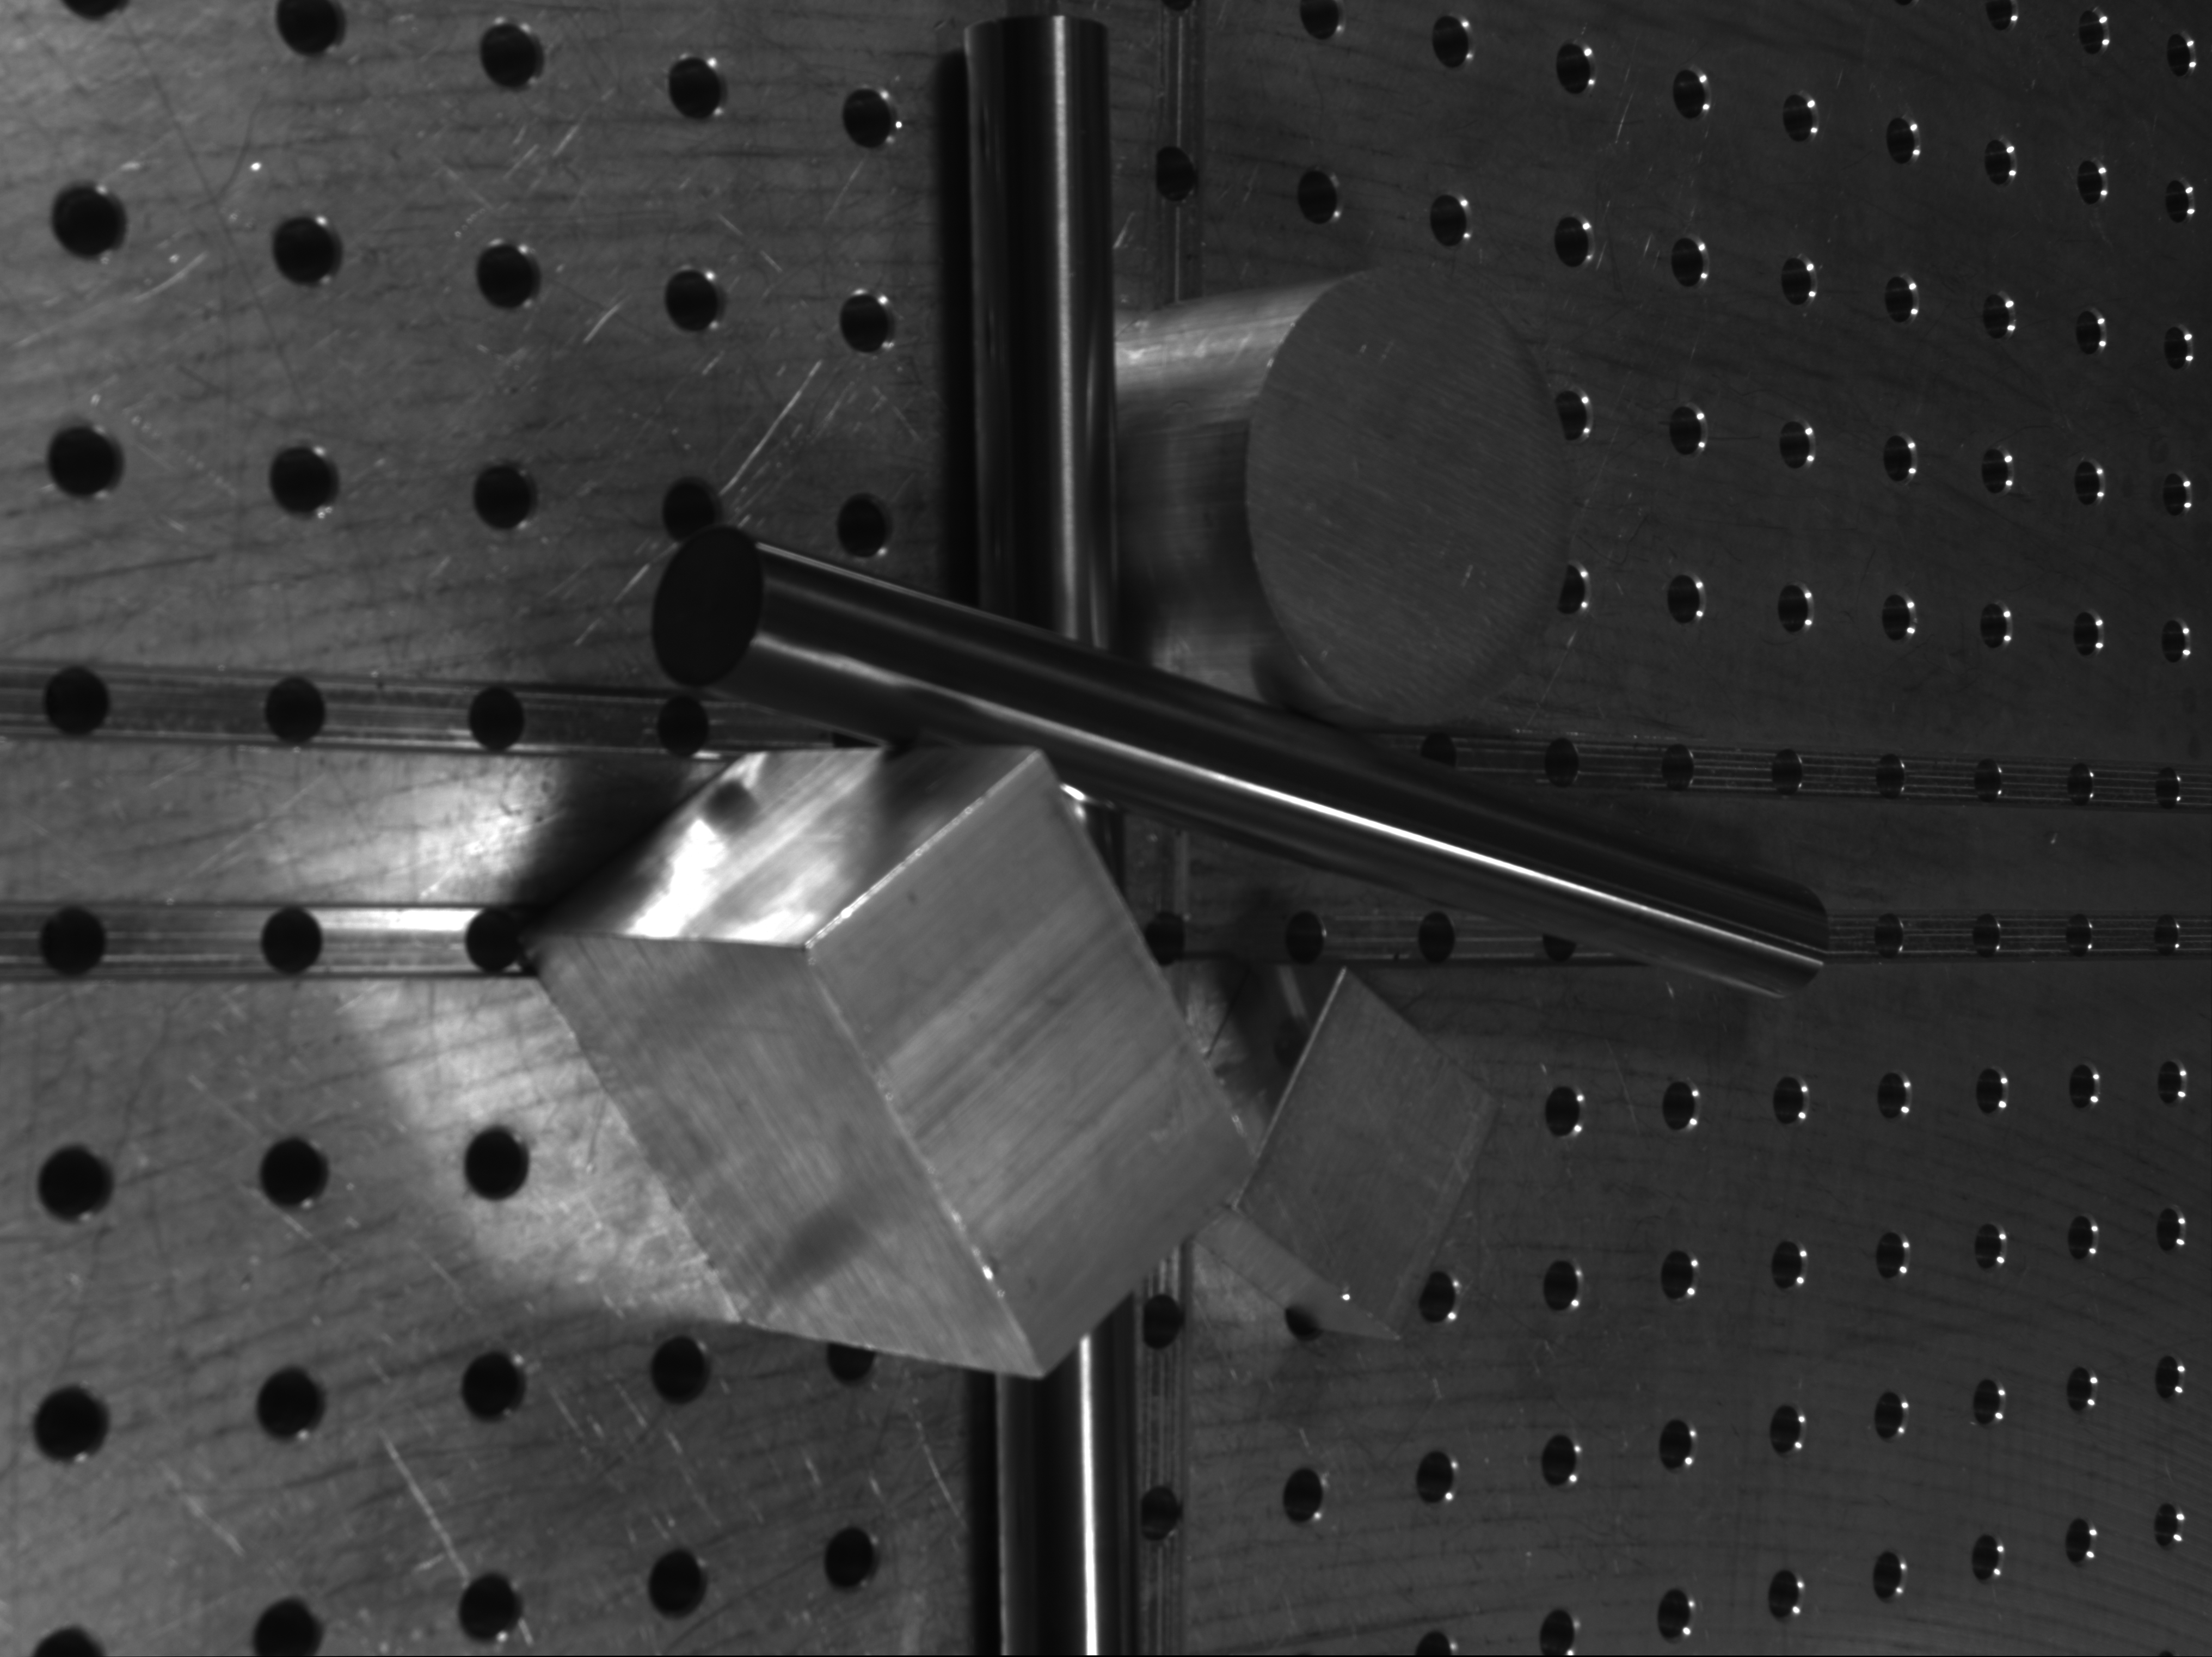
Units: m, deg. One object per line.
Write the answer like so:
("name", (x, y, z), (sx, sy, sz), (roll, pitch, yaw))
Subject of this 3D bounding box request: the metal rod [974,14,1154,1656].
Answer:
("metal rod", (-0.007, 0.012, 0.635), (0.025, 0.025, 0.300), (-2, 91, -40))

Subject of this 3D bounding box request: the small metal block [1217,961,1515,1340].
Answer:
("small metal block", (0.042, 0.059, 0.677), (0.050, 0.025, 0.050), (41, 65, -32))

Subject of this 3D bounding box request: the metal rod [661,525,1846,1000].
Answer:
("metal rod", (0.043, -0.005, 0.651), (0.301, 0.025, 0.025), (16, 80, -46))

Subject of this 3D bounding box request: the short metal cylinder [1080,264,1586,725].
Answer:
("short metal cylinder", (0.040, -0.058, 0.657), (0.080, 0.050, 0.080), (0, 90, -40))

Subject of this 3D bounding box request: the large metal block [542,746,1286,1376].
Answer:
("large metal block", (-0.031, 0.035, 0.578), (0.050, 0.080, 0.080), (-42, 115, -32))
